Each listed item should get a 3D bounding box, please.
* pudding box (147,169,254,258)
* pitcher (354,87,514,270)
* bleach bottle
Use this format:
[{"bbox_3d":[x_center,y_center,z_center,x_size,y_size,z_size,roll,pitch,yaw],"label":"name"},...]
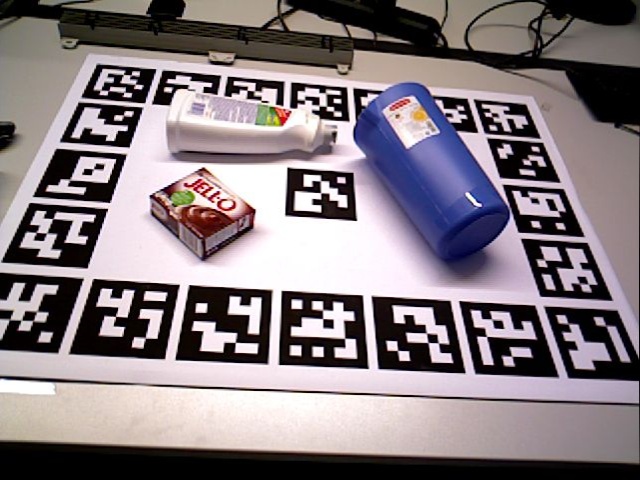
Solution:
[{"bbox_3d":[-0.156,-0.038,0.704,0.113,0.039,0.088,42,51,22],"label":"pudding box"},{"bbox_3d":[0.162,-0.080,0.755,0.186,0.136,0.241,10,44,-48],"label":"pitcher"},{"bbox_3d":[-0.098,-0.170,0.812,0.248,0.069,0.101,3,55,-9],"label":"bleach bottle"}]
